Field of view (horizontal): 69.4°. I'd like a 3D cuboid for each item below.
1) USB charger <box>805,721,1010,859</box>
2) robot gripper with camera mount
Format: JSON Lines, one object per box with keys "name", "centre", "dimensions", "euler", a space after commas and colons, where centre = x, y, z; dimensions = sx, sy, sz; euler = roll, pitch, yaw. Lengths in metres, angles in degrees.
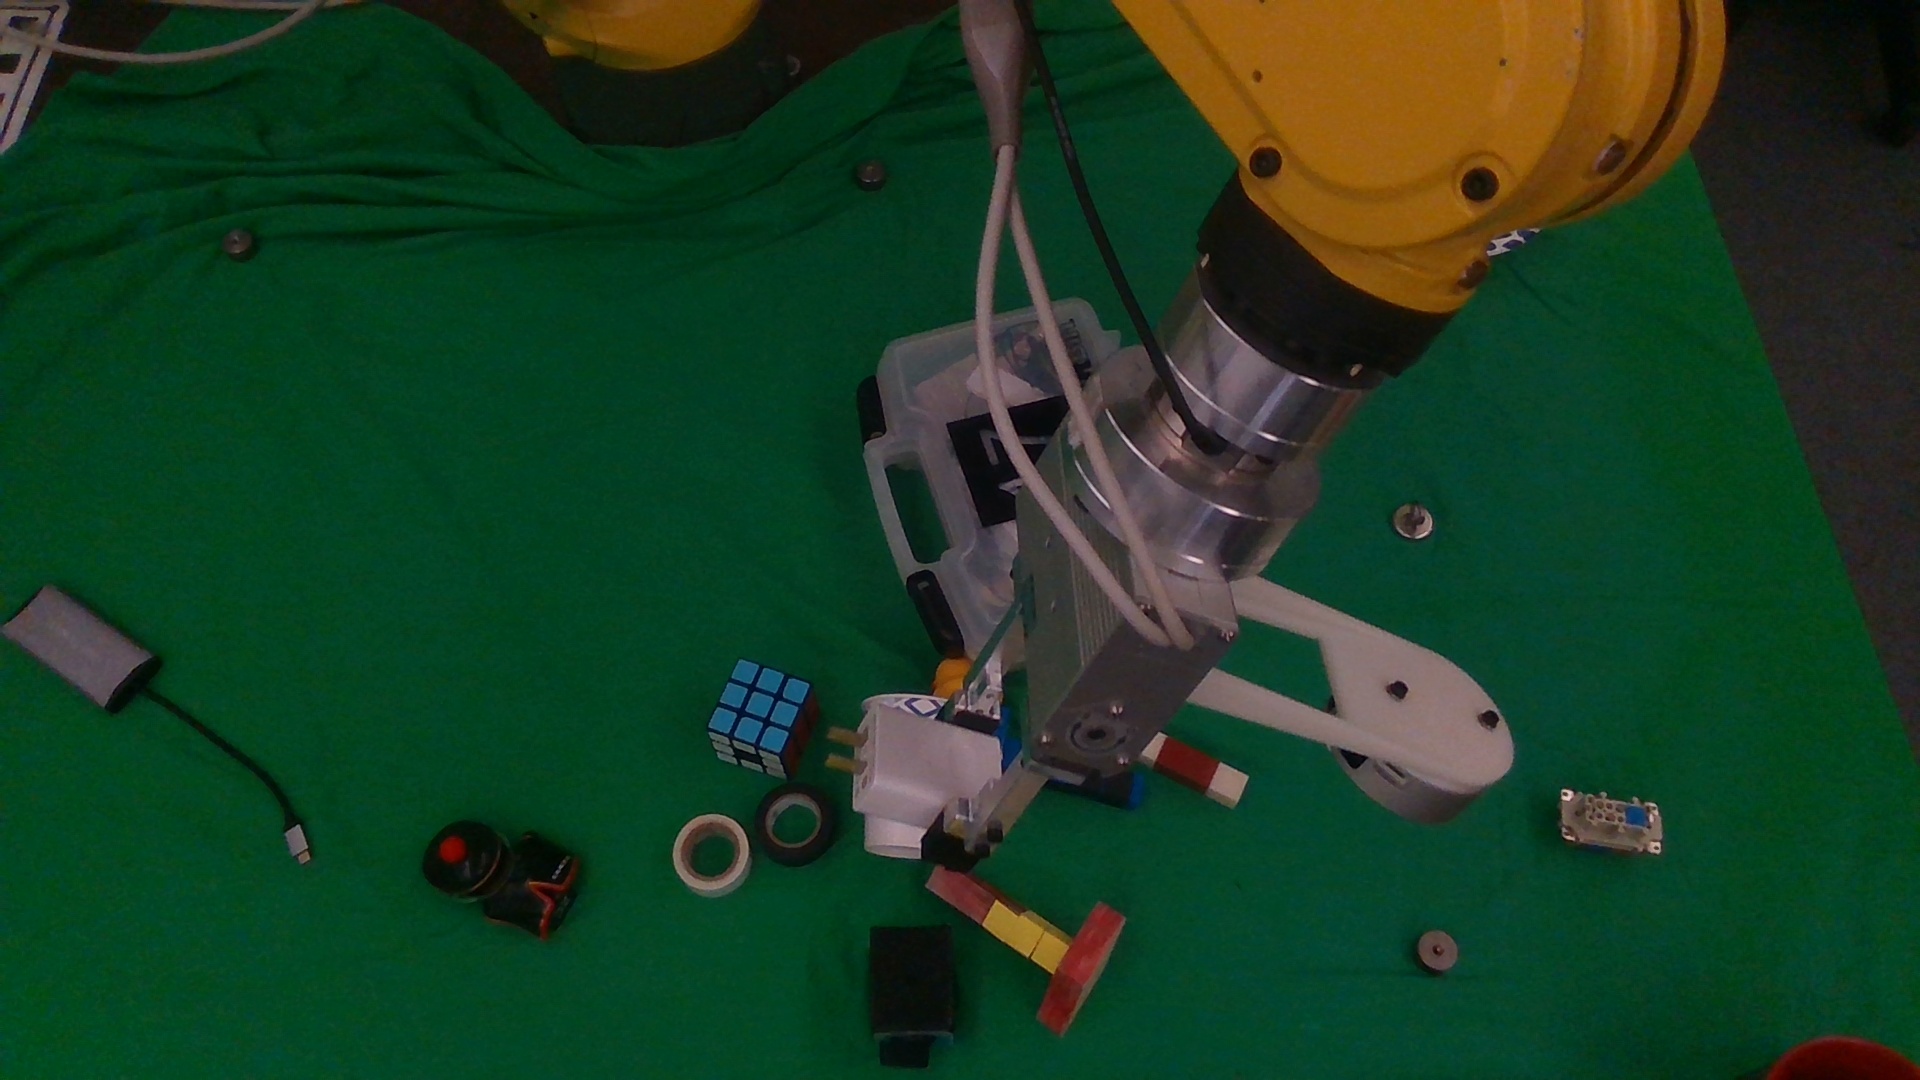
{"name": "USB charger", "centre": [-0.021, 0.091, 0.517], "dimensions": [0.075, 0.029, 0.045], "euler": [14, 41, -18]}
{"name": "robot gripper with camera mount", "centre": [0.099, 0.059, 0.512], "dimensions": [0.193, 0.159, 0.119], "euler": [14, 40, -17]}
